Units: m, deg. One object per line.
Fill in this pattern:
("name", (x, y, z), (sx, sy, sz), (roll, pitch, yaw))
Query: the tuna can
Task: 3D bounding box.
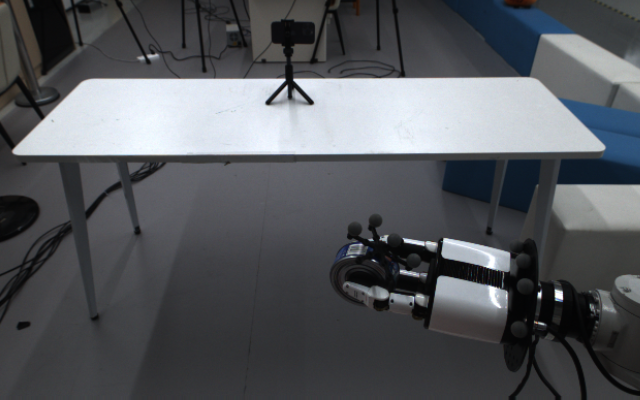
("tuna can", (0.060, 0.102, 0.614), (0.085, 0.085, 0.034), (12, 35, 14))
